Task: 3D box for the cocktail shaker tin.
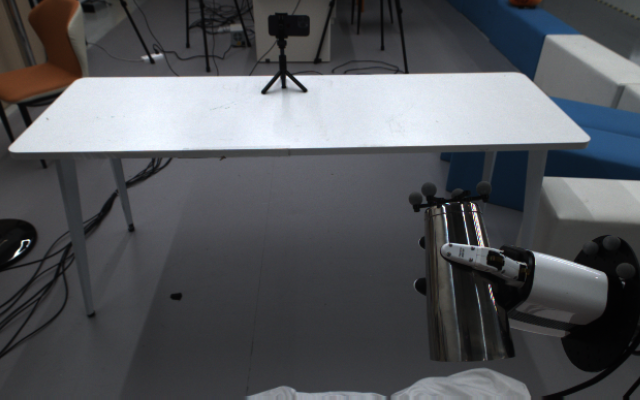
[{"bbox_3d":[0.164,0.093,0.558,0.093,0.093,0.170,-3,76,-7],"label":"cocktail shaker tin"}]
